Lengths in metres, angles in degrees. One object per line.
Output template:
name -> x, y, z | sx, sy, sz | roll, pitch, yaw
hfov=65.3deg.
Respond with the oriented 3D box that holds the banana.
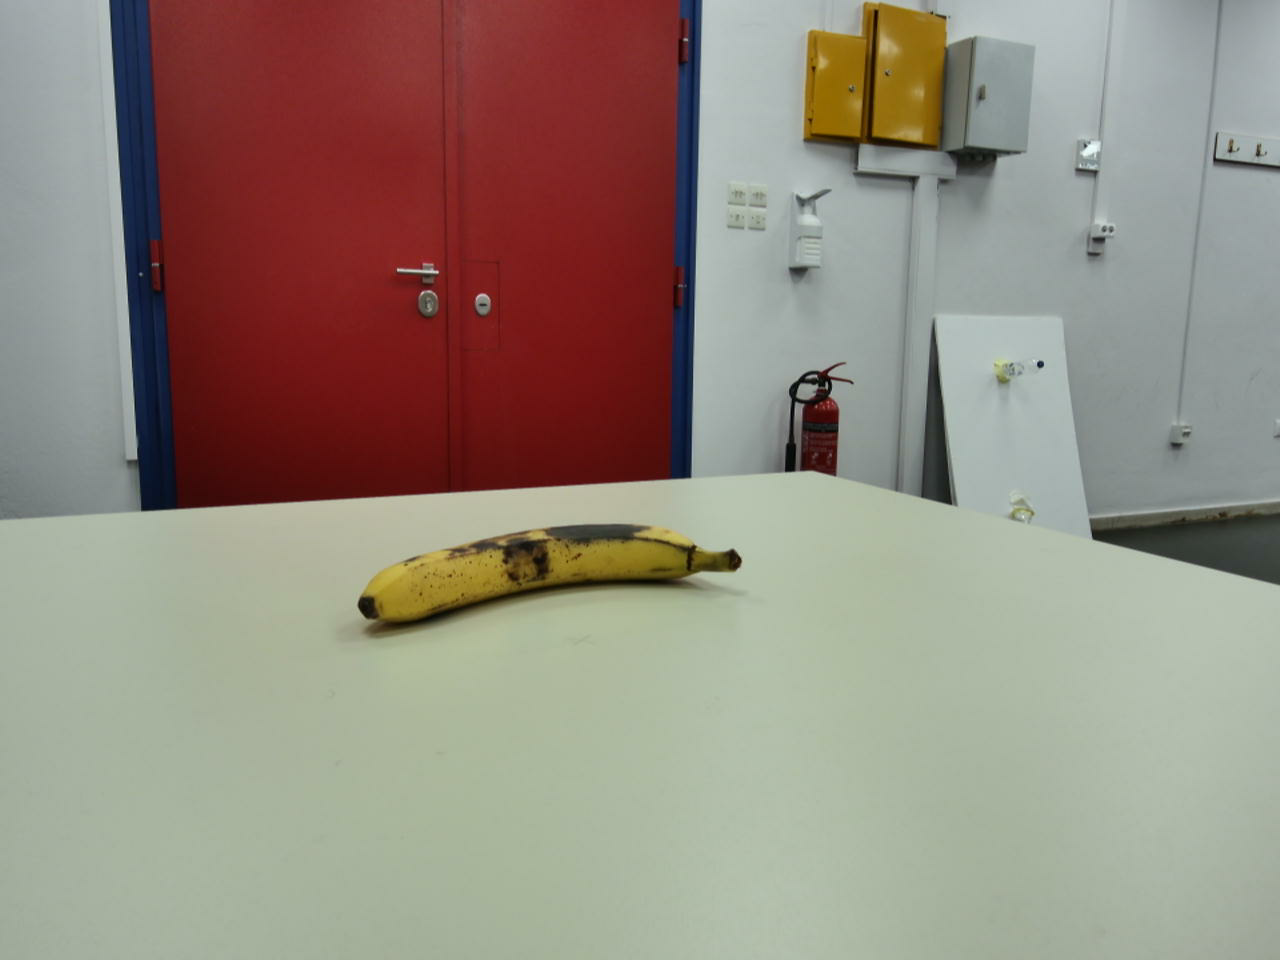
banana -> -0.055, 0.051, 0.581 | 0.222, 0.037, 0.084 | -3, 8, -24
